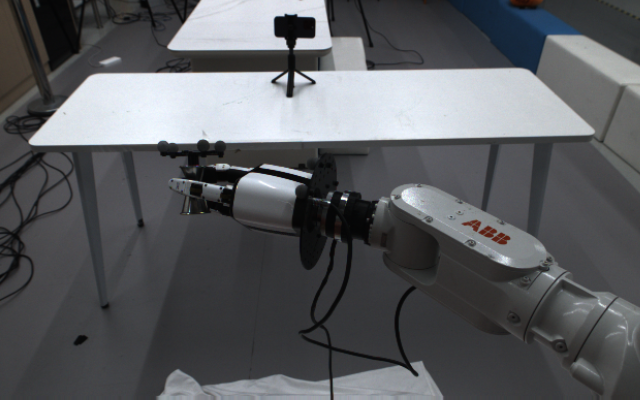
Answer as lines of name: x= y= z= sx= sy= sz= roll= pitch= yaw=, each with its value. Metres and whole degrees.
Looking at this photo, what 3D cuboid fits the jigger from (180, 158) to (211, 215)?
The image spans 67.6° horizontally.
jigger: x=-0.179 y=-0.014 z=0.689 sx=0.043 sy=0.071 sz=0.043 roll=-2 pitch=4 yaw=0
